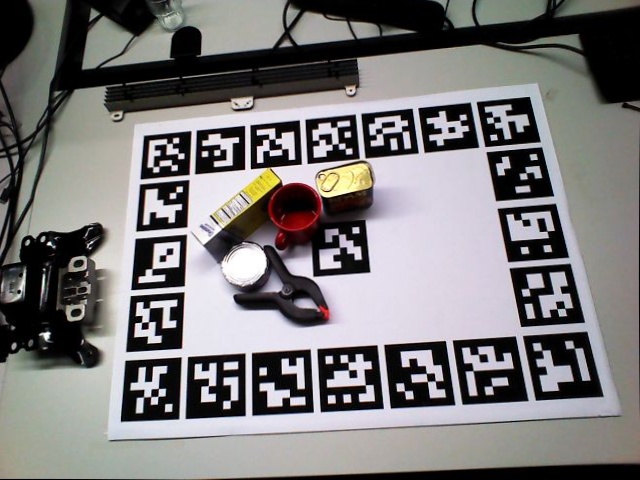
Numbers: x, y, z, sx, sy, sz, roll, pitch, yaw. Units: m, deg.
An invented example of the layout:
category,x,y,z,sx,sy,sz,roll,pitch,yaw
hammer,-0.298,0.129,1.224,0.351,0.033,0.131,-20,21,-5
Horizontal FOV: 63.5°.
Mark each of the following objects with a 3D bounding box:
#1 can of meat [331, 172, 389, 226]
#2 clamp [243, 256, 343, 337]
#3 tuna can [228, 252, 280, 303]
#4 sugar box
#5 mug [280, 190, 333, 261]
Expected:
category,x,y,z,sx,sy,sz,roll,pitch,yaw
can of meat,0.073,-0.071,0.915,0.102,0.084,0.057,-12,68,-1
clamp,-0.034,0.113,0.884,0.165,0.037,0.121,30,71,11
tuna can,-0.114,0.066,0.903,0.086,0.034,0.085,-2,71,5
sugar box,-0.118,-0.023,0.912,0.176,0.093,0.045,-40,70,-11
mug,-0.025,-0.018,0.897,0.093,0.081,0.116,20,75,11
